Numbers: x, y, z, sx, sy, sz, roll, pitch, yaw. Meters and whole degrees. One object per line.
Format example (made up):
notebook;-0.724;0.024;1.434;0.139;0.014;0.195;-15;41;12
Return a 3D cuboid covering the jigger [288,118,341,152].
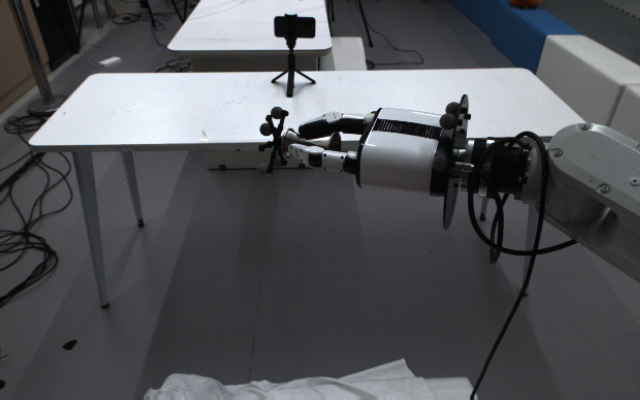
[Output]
jigger;-0.006;-0.073;0.633;0.071;0.043;0.043;10;35;22
